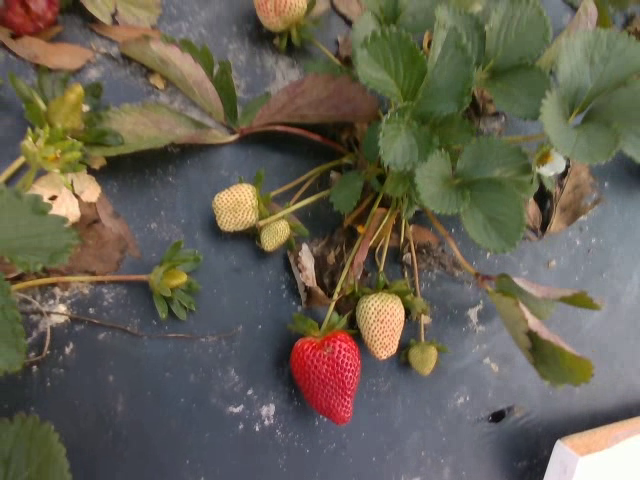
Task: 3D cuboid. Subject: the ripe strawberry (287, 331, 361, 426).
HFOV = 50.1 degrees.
[{"bbox_3d":[0.007,0.078,0.393,0.050,0.059,0.034,-13,-22,-22],"label":"ripe strawberry"}]
